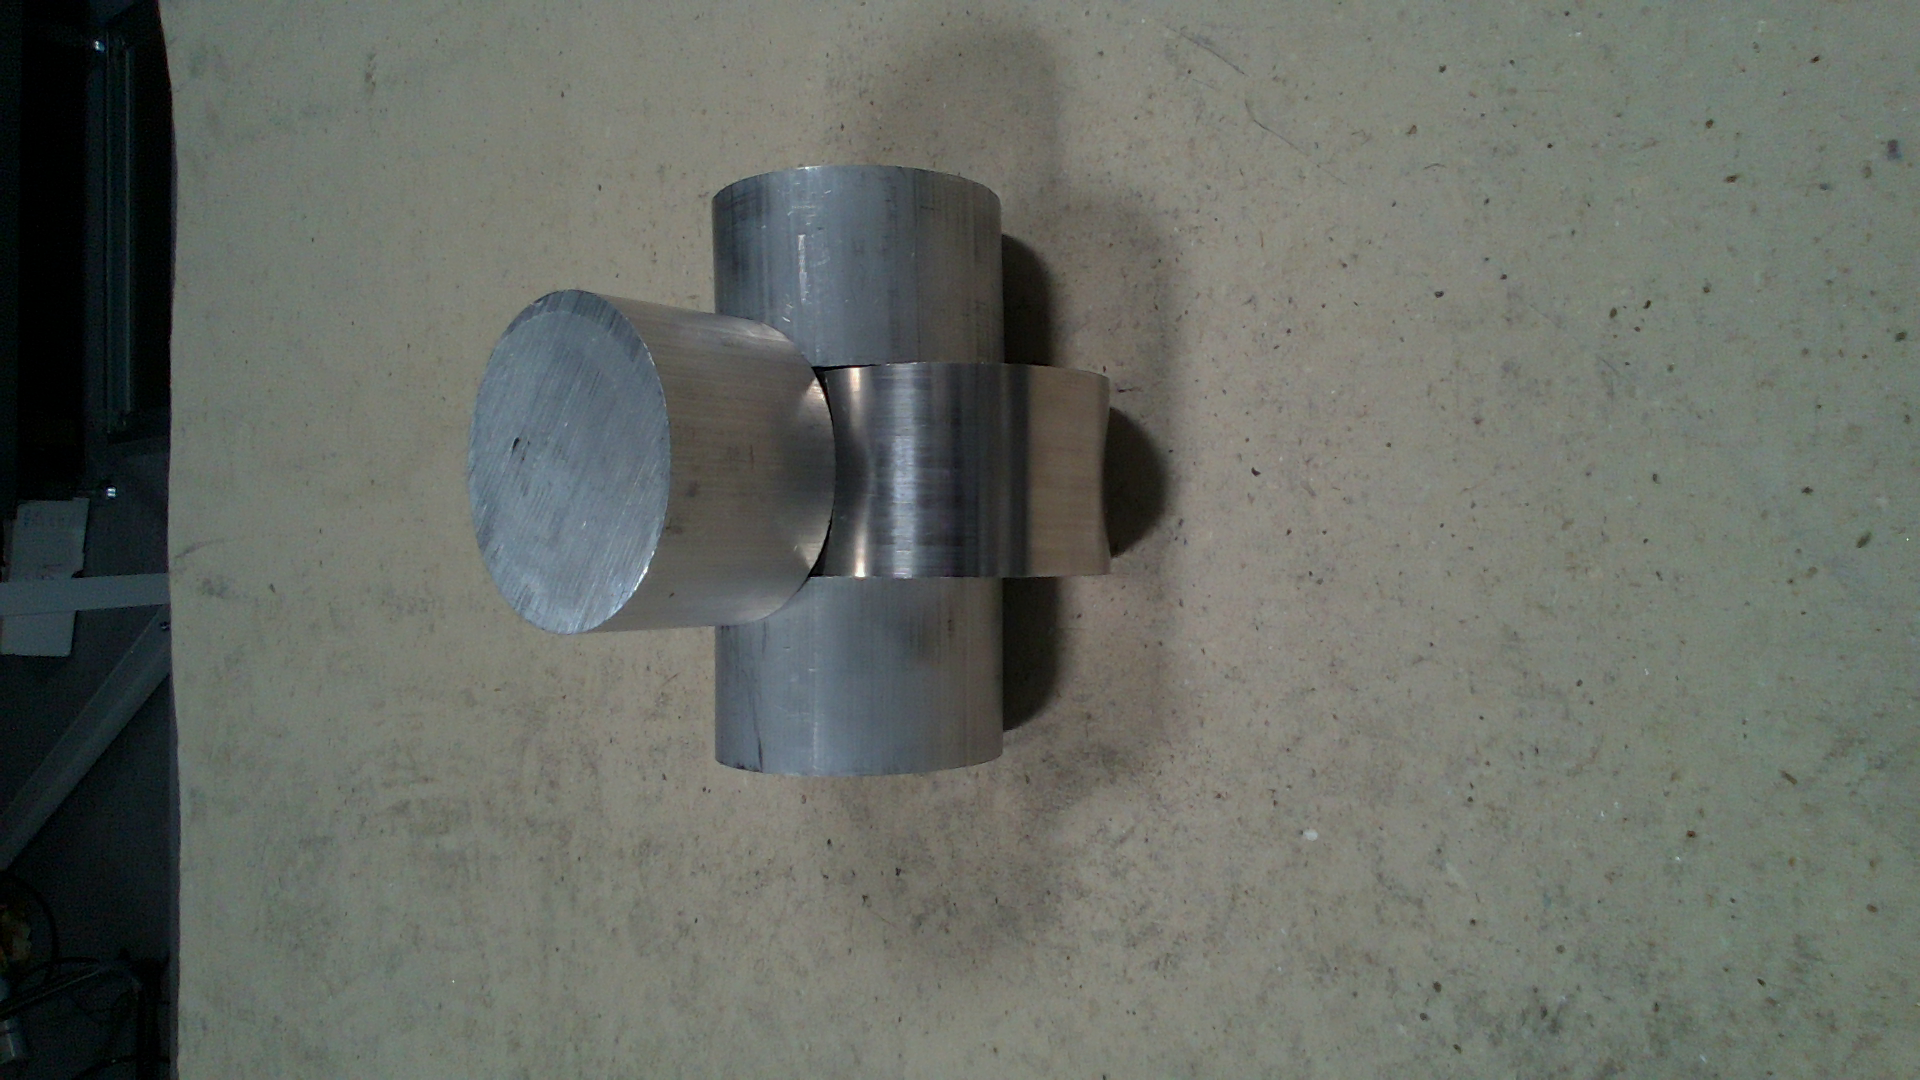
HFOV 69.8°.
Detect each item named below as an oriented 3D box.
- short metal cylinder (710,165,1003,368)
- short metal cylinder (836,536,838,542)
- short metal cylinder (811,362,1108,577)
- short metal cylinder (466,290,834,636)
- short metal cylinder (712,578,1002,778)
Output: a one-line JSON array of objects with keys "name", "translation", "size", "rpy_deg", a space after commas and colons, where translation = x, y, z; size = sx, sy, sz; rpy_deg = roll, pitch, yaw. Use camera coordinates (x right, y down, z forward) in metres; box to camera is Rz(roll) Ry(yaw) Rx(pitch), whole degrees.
[{"name": "short metal cylinder", "translation": [-0.028, -0.068, 0.383], "size": [0.080, 0.080, 0.050], "rpy_deg": [-2, 89, 40]}, {"name": "short metal cylinder", "translation": [-0.063, -0.016, 0.412], "size": [0.080, 0.080, 0.050], "rpy_deg": [-2, 89, 40]}, {"name": "short metal cylinder", "translation": [-0.001, -0.016, 0.360], "size": [0.080, 0.080, 0.050], "rpy_deg": [-1, 90, 40]}, {"name": "short metal cylinder", "translation": [-0.077, -0.018, 0.338], "size": [0.080, 0.050, 0.080], "rpy_deg": [0, 90, 40]}, {"name": "short metal cylinder", "translation": [-0.028, 0.034, 0.383], "size": [0.080, 0.080, 0.050], "rpy_deg": [0, 90, 40]}]
